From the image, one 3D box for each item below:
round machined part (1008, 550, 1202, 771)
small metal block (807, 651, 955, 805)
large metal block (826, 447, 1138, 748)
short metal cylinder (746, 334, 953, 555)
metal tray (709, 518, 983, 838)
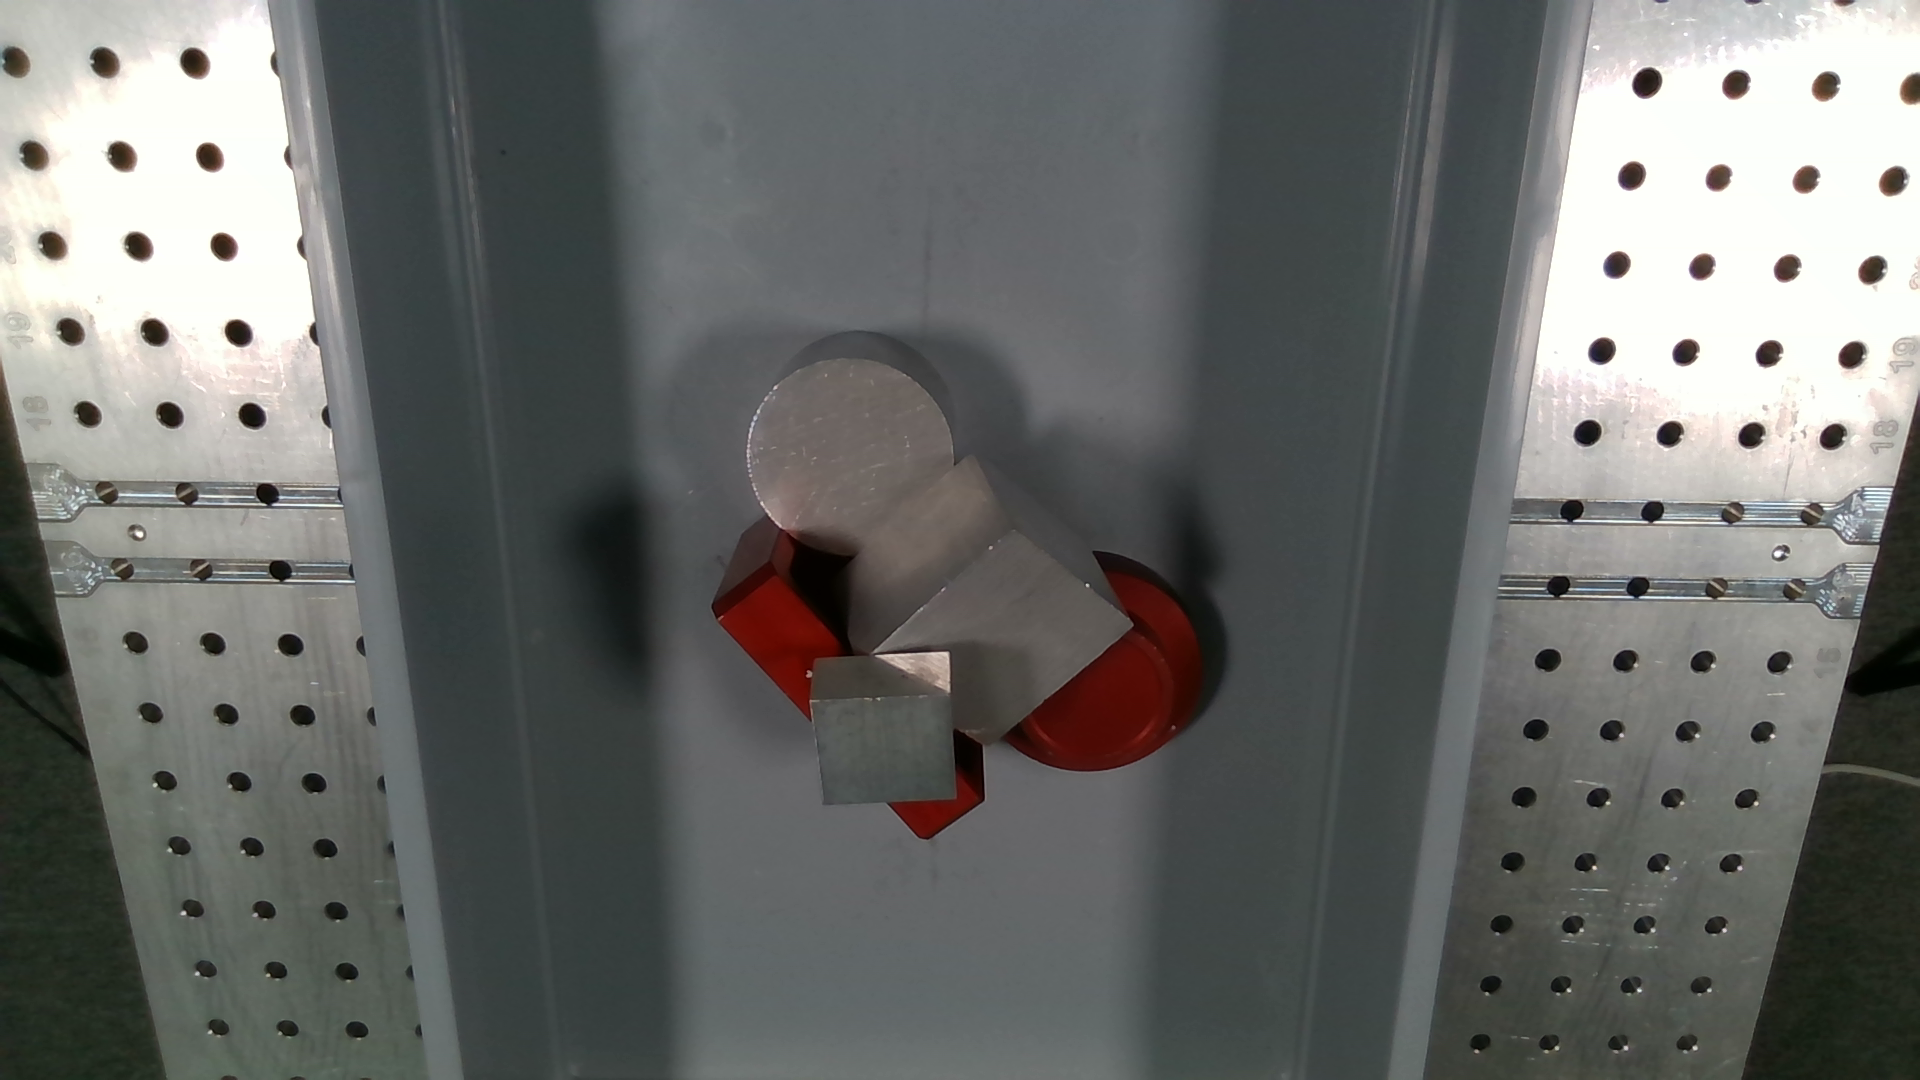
[{"bbox_3d":[0.056,0.057,0.595,0.098,0.042,0.098,0,110,0],"label":"round machined part"},{"bbox_3d":[-0.028,0.070,0.508,0.050,0.025,0.050,-3,123,0],"label":"small metal block"},{"bbox_3d":[0.008,0.024,0.541,0.080,0.050,0.080,-42,129,14],"label":"large metal block"},{"bbox_3d":[-0.043,-0.040,0.555,0.080,0.050,0.080,0,110,0],"label":"short metal cylinder"},{"bbox_3d":[-0.043,0.050,0.567,0.030,0.090,0.130,-37,106,12],"label":"metal tray"}]
